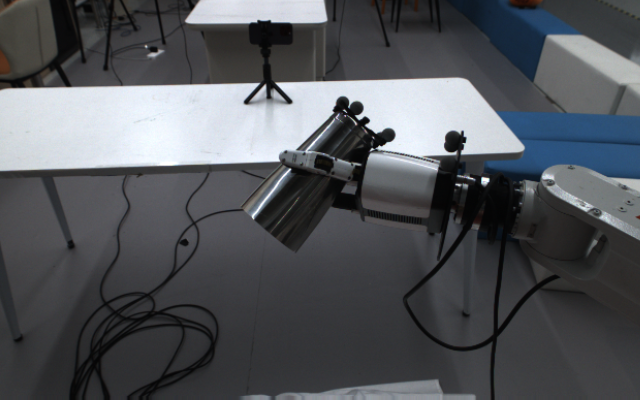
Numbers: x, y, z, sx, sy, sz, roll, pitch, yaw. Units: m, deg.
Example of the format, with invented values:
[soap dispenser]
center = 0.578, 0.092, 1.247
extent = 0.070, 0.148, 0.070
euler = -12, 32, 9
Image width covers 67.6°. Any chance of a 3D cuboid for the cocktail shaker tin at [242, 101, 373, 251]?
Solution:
[cocktail shaker tin]
center = -0.009, -0.030, 0.616
extent = 0.170, 0.093, 0.093
euler = -48, 49, -3
